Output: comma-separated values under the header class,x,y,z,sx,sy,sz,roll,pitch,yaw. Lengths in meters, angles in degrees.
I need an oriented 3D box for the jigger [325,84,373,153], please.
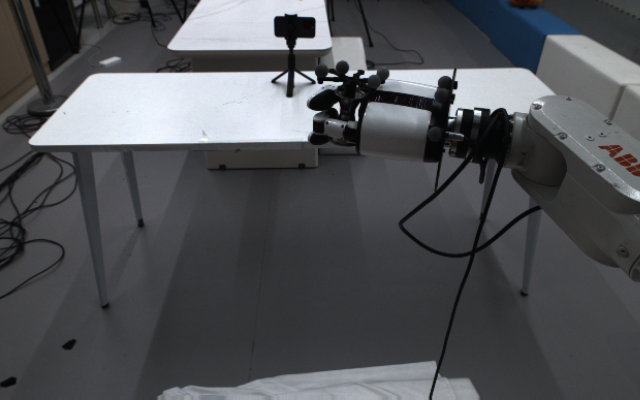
class,x,y,z,sx,sy,sz,roll,pitch,yaw
jigger,0.040,-0.113,0.657,0.043,0.071,0.043,4,31,-2
